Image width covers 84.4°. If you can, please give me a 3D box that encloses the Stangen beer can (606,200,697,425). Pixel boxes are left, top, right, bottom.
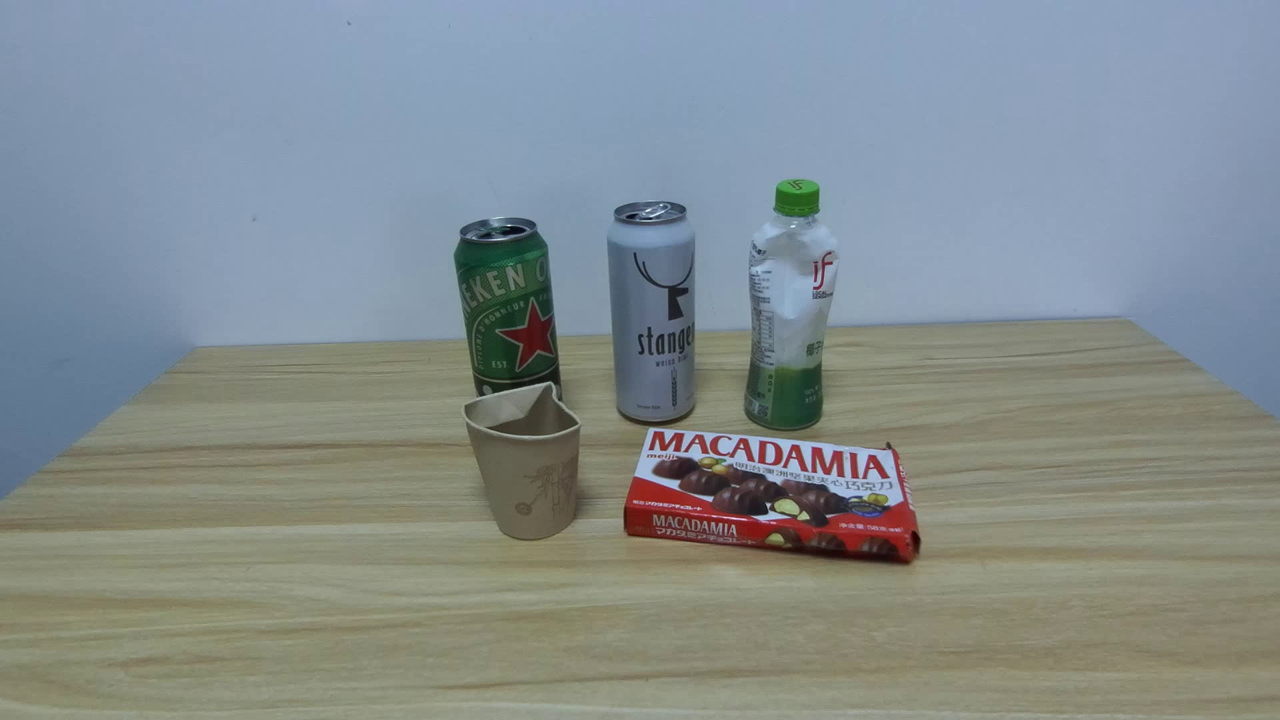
[{"bbox_3d":[0.011,-0.035,0.557,0.067,0.171,0.067,-1,26,1],"label":"Stangen beer can"}]

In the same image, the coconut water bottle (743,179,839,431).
[{"bbox_3d":[0.114,-0.041,0.536,0.069,0.187,0.069,0,27,1],"label":"coconut water bottle"}]

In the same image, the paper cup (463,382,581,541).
[{"bbox_3d":[-0.073,0.069,0.457,0.066,0.084,0.071,-12,28,-21],"label":"paper cup"}]

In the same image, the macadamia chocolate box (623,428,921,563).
[{"bbox_3d":[0.086,0.086,0.473,0.183,0.028,0.106,4,28,9],"label":"macadamia chocolate box"}]

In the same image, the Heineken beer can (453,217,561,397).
[{"bbox_3d":[-0.096,-0.017,0.534,0.067,0.169,0.067,-2,27,1],"label":"Heineken beer can"}]
